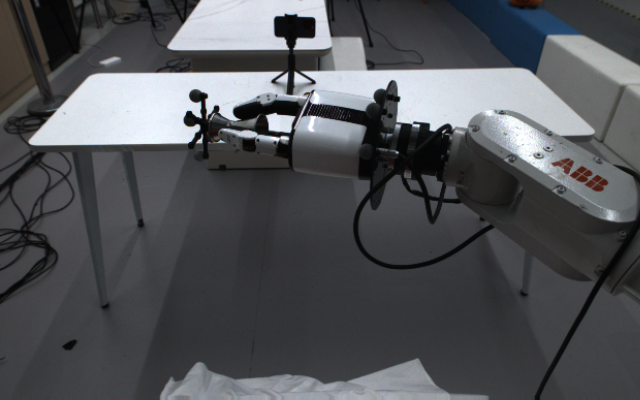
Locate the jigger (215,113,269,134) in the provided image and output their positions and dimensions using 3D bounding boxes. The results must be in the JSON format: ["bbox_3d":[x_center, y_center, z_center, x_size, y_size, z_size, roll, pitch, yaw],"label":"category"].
[{"bbox_3d":[-0.101,-0.097,0.642,0.071,0.043,0.043,6,34,16],"label":"jigger"}]
